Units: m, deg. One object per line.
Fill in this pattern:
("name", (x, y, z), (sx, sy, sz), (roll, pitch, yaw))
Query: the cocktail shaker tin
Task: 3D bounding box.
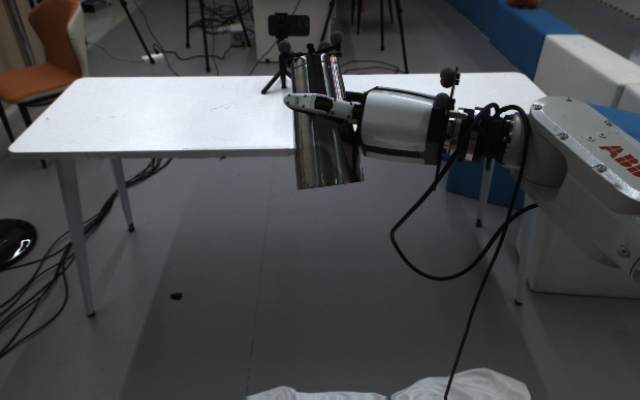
("cocktail shaker tin", (0.003, -0.104, 0.653), (0.093, 0.170, 0.093), (-8, 1, 0))
